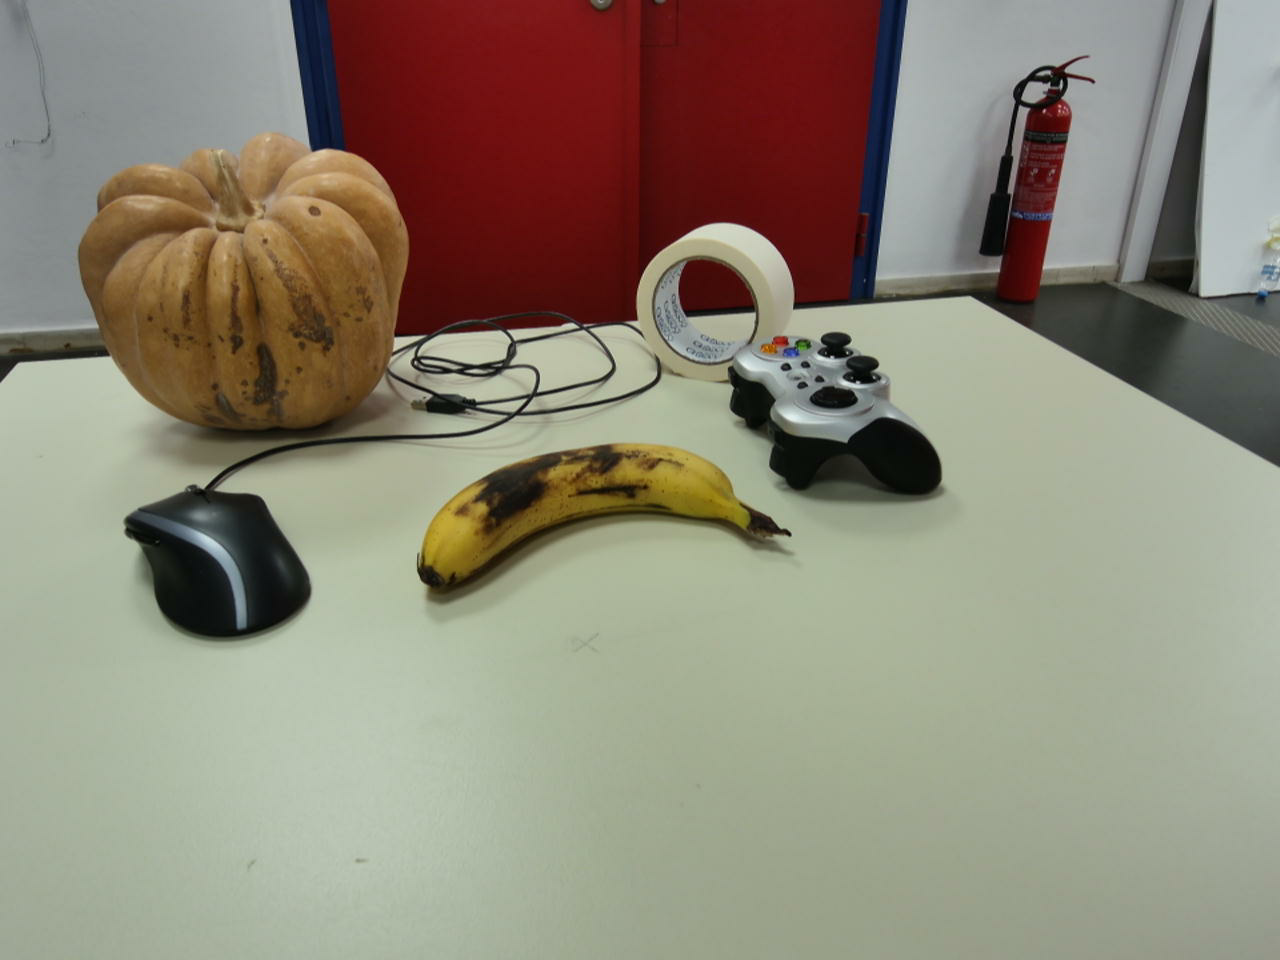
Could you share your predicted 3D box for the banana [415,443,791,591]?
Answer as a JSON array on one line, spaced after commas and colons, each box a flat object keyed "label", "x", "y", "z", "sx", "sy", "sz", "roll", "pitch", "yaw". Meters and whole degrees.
[{"label": "banana", "x": -0.026, "y": 0.014, "z": 0.525, "sx": 0.187, "sy": 0.039, "sz": 0.094, "roll": -6, "pitch": 26, "yaw": -13}]
